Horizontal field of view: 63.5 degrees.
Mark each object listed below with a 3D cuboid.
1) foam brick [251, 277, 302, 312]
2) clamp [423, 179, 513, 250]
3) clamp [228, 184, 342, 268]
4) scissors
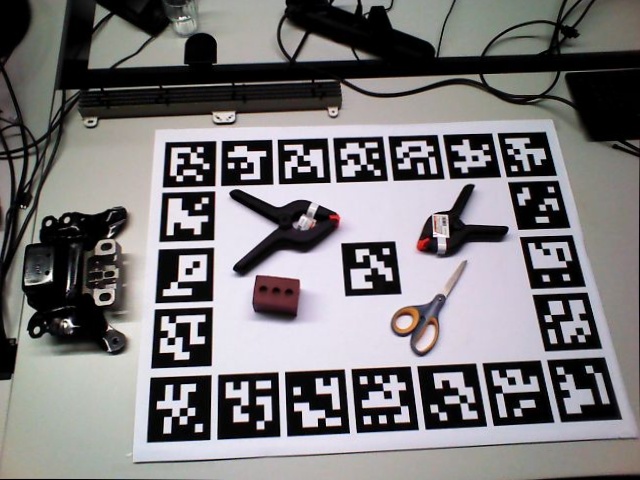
[{"bbox_3d":[-0.073,0.091,0.892,0.078,0.051,0.052,5,70,4],"label":"foam brick"},{"bbox_3d":[0.264,-0.032,0.964,0.165,0.037,0.121,-28,80,-12],"label":"clamp"},{"bbox_3d":[-0.062,-0.035,0.945,0.203,0.037,0.164,-5,67,-5],"label":"clamp"},{"bbox_3d":[0.208,0.106,0.912,0.088,0.016,0.202,38,71,3],"label":"scissors"}]
